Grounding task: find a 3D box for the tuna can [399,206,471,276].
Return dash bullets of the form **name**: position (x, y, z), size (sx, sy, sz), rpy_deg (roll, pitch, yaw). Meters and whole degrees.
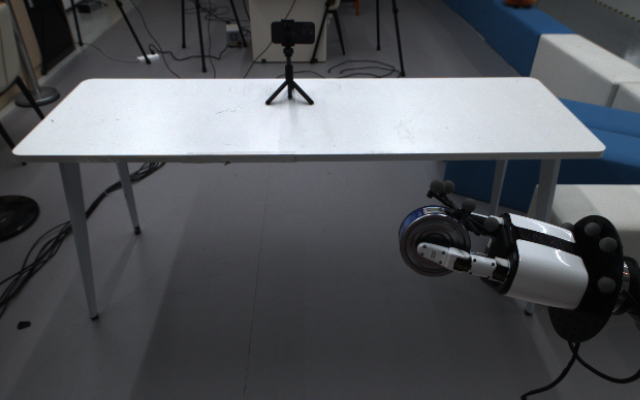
- **tuna can**: position (0.143, 0.049, 0.598), size (0.085, 0.085, 0.034), rpy_deg (6, 19, 6)
